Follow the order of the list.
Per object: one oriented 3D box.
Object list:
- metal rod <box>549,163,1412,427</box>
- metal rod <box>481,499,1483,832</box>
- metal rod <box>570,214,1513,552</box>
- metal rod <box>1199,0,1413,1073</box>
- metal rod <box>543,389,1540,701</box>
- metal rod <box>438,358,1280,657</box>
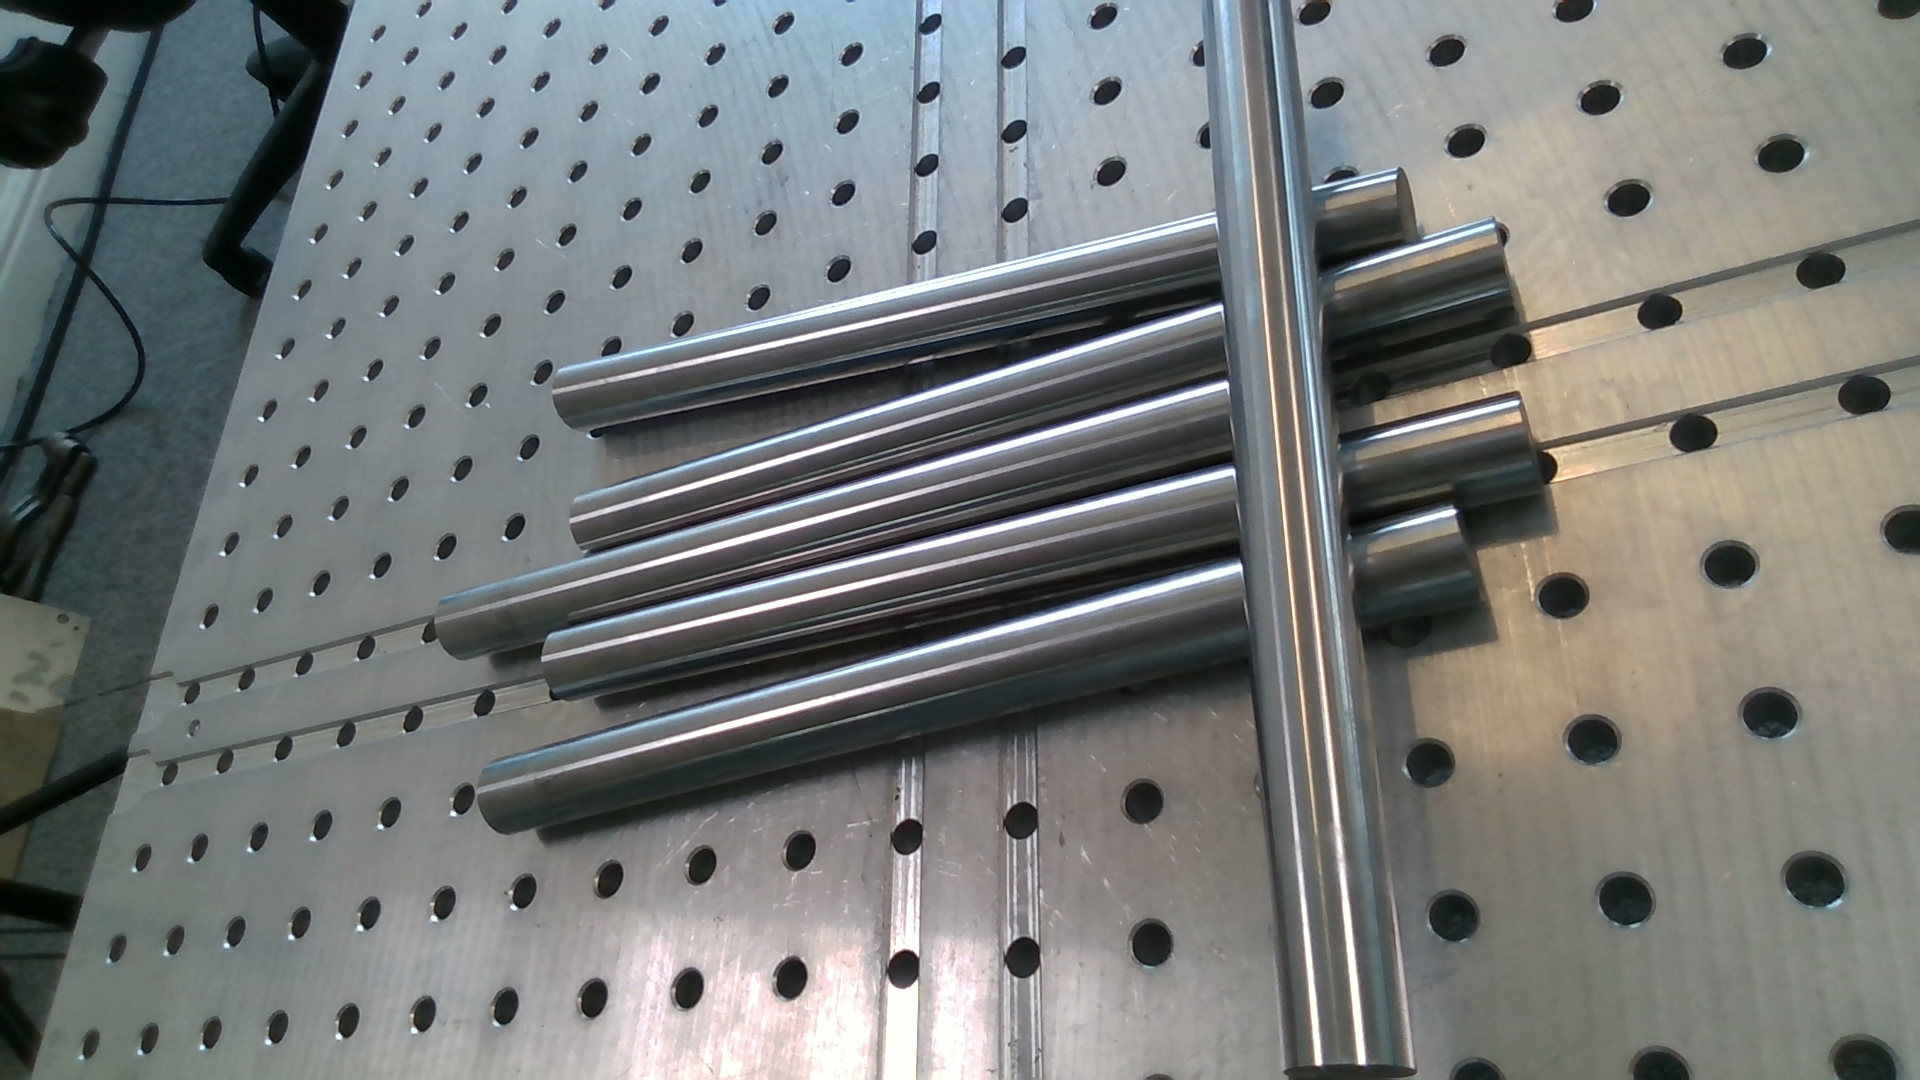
[{"bbox_3d":[-0.012,-0.071,0.439,0.300,0.025,0.025,-8,62,28],"label":"metal rod"},{"bbox_3d":[-0.013,0.042,0.382,0.300,0.025,0.025,-17,58,24],"label":"metal rod"},{"bbox_3d":[0.006,-0.038,0.413,0.300,0.025,0.025,-14,59,25],"label":"metal rod"},{"bbox_3d":[0.078,-0.032,0.332,0.025,0.025,0.299,-13,60,26],"label":"metal rod"},{"bbox_3d":[0.003,0.009,0.391,0.300,0.025,0.025,-14,59,25],"label":"metal rod"},{"bbox_3d":[-0.044,-0.003,0.424,0.300,0.025,0.025,-14,59,26],"label":"metal rod"}]
